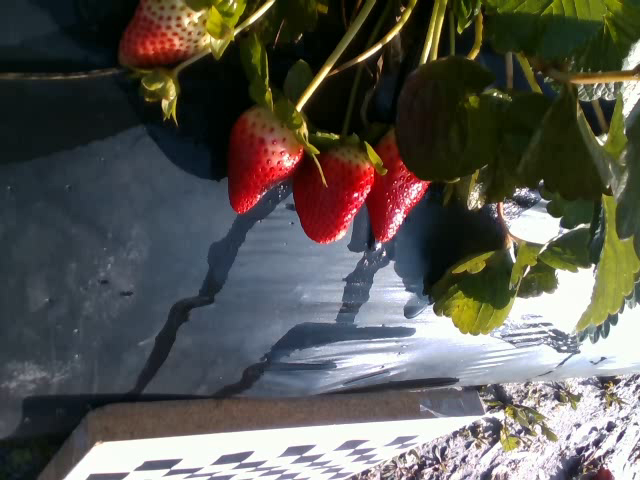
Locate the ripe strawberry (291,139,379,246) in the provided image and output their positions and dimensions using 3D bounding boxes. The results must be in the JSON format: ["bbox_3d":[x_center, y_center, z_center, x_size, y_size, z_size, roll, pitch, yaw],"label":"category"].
[{"bbox_3d":[0.005,-0.017,0.220,0.030,0.039,0.036,18,-17,-38],"label":"ripe strawberry"}]

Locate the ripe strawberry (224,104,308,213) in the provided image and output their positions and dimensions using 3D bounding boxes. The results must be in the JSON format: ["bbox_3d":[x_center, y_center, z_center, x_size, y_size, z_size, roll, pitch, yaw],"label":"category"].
[{"bbox_3d":[-0.021,-0.026,0.210,0.031,0.046,0.023,10,37,-30],"label":"ripe strawberry"}]

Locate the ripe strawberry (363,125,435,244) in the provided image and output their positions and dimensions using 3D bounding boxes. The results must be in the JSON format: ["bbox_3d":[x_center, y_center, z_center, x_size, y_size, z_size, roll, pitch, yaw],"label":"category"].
[{"bbox_3d":[0.029,-0.016,0.237,0.035,0.041,0.033,7,2,-27],"label":"ripe strawberry"}]
